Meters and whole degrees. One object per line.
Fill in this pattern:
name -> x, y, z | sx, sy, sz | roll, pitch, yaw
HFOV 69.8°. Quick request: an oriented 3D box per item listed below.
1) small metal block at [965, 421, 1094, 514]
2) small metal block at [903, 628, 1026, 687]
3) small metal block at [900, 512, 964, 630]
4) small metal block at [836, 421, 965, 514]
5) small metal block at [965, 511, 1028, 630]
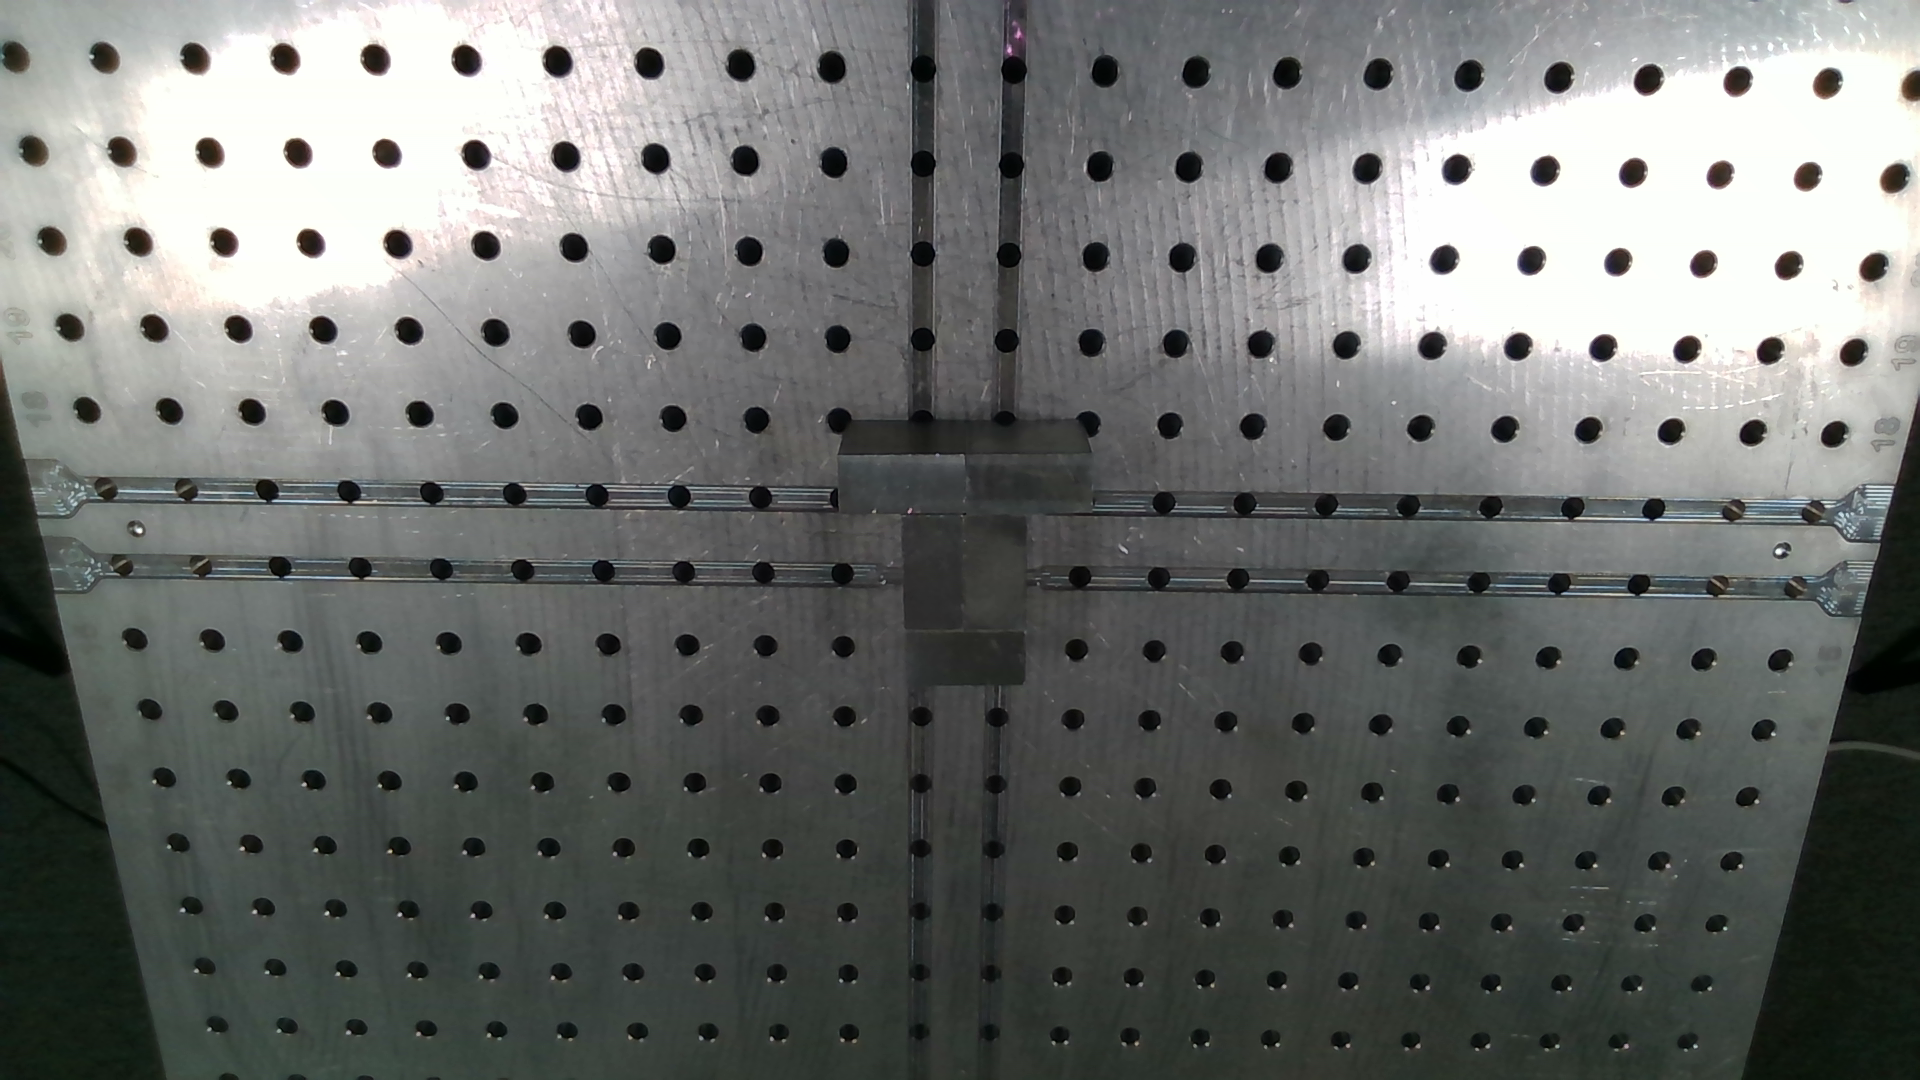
small metal block -> 0.027, -0.031, 0.562 | 0.050, 0.050, 0.025 | 0, 110, 0
small metal block -> 0.002, 0.040, 0.588 | 0.050, 0.050, 0.025 | 0, 110, 0
small metal block -> -0.011, 0.005, 0.575 | 0.025, 0.050, 0.050 | 0, 110, 0
small metal block -> -0.023, -0.031, 0.562 | 0.050, 0.050, 0.025 | 0, 110, 0
small metal block -> 0.015, 0.005, 0.575 | 0.025, 0.050, 0.050 | 0, 110, 0
